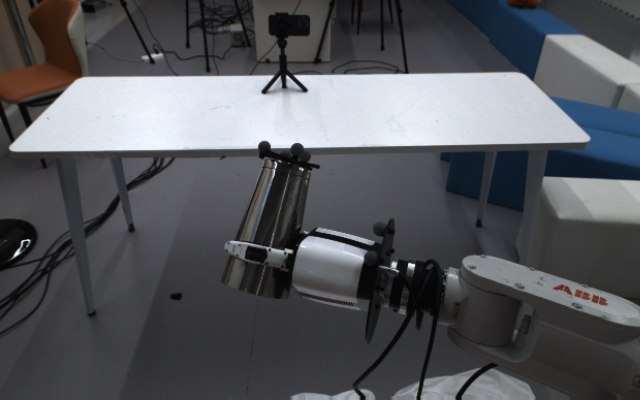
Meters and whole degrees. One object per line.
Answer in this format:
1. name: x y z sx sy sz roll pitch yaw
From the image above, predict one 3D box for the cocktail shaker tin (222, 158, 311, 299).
1. cocktail shaker tin: -0.065 0.037 0.647 0.093 0.170 0.093 15 -4 1
